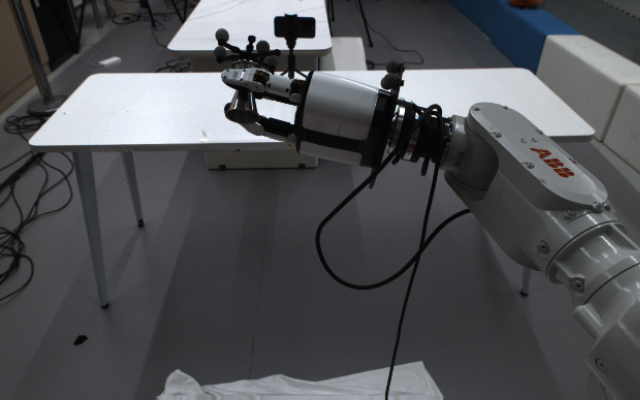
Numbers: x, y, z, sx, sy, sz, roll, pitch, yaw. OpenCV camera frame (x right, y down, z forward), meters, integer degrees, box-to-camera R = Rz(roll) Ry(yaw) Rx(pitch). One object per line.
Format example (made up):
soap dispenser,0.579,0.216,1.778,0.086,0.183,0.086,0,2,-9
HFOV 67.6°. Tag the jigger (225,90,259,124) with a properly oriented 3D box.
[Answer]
jigger,-0.096,-0.137,0.611,0.043,0.043,0.071,3,76,1
